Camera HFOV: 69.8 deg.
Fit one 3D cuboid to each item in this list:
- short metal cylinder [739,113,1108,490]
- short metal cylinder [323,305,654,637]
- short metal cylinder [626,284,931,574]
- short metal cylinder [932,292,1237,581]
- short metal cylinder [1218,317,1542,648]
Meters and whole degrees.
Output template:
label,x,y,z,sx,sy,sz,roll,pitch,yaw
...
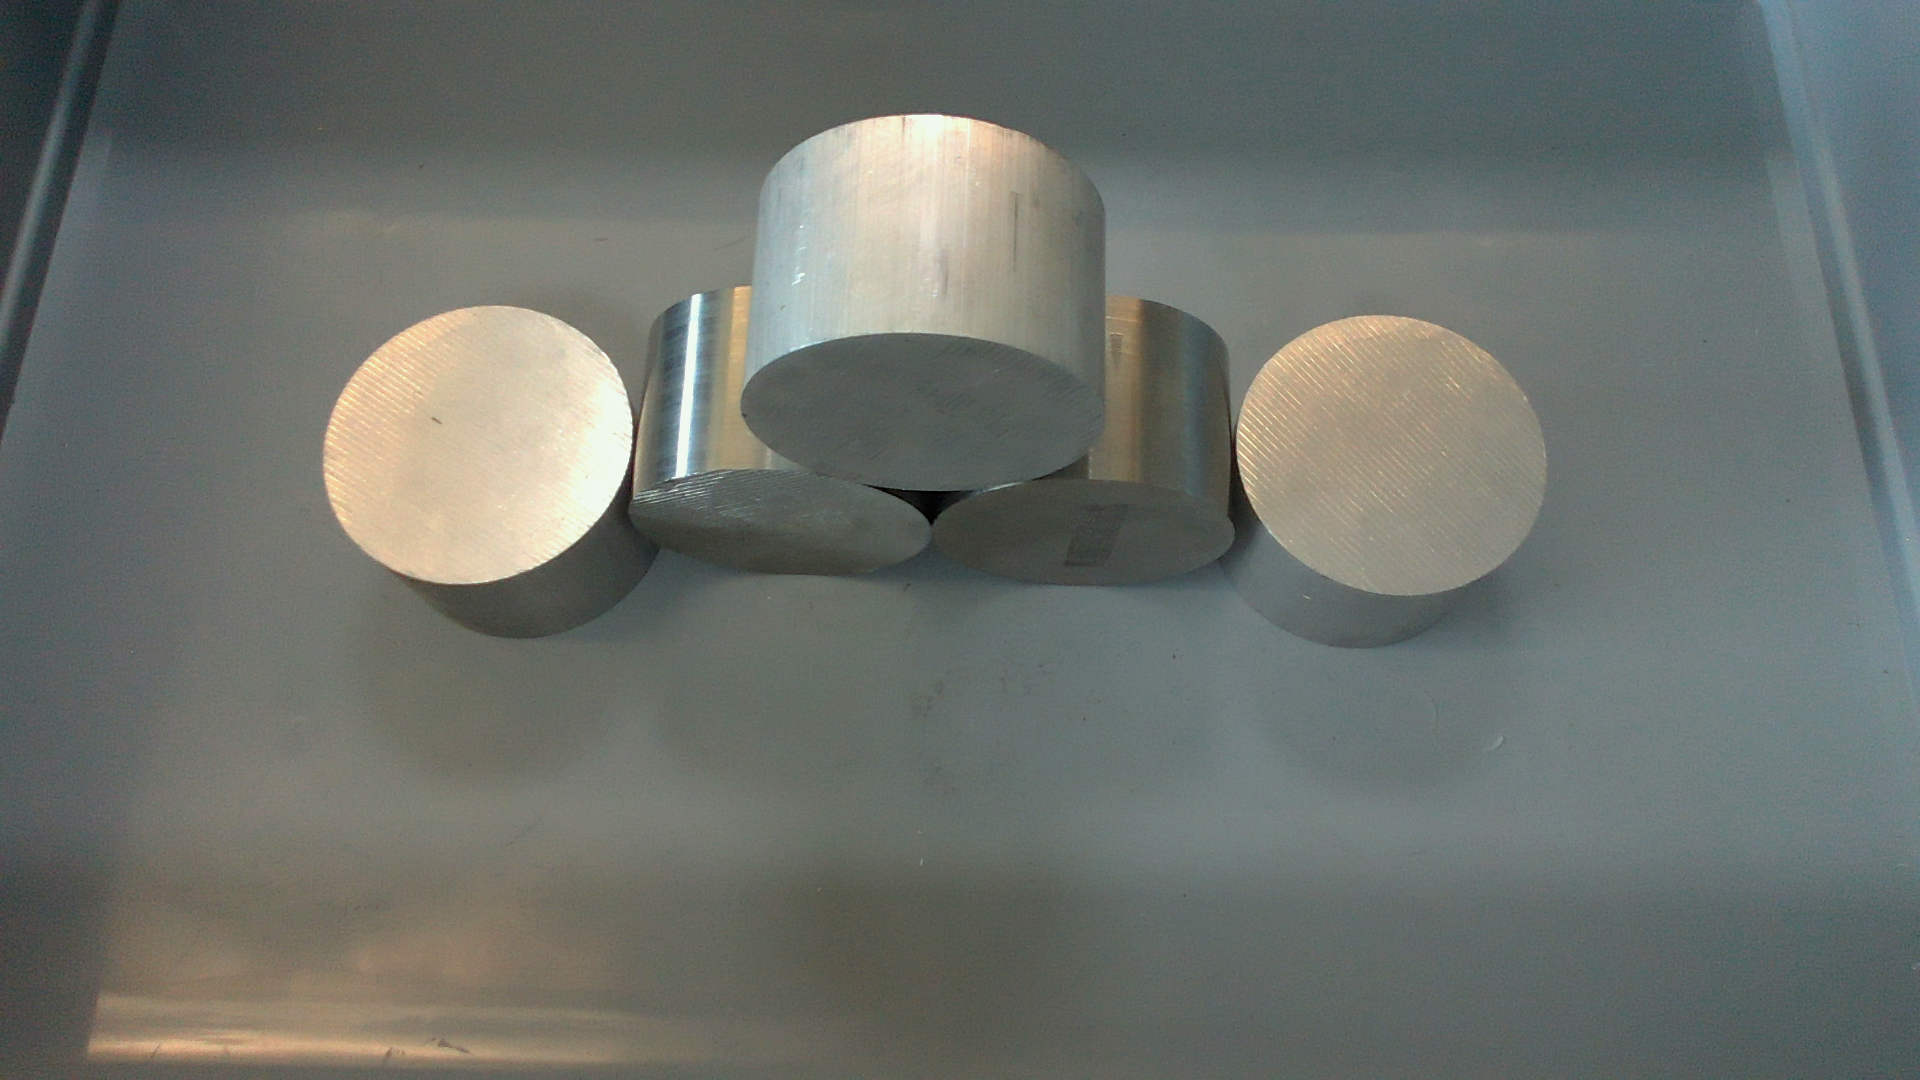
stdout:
label,x,y,z,sx,sy,sz,roll,pitch,yaw
short metal cylinder,-0.007,-0.050,0.309,0.080,0.080,0.050,2,70,1
short metal cylinder,-0.127,-0.018,0.386,0.080,0.050,0.080,0,70,0
short metal cylinder,-0.047,-0.027,0.373,0.080,0.080,0.050,2,70,1
short metal cylinder,0.033,-0.025,0.373,0.080,0.080,0.050,2,70,1
short metal cylinder,0.113,-0.015,0.386,0.080,0.050,0.080,0,70,0
